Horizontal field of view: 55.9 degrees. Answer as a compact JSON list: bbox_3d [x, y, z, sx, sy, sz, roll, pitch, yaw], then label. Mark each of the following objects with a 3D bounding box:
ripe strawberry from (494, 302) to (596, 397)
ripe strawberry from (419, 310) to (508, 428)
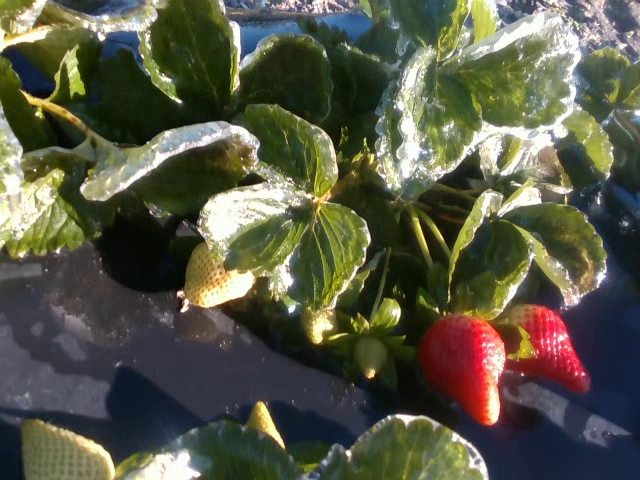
[{"bbox_3d":[0.134,0.060,0.343,0.044,0.059,0.040,-42,1,-38],"label":"ripe strawberry"},{"bbox_3d":[0.086,0.071,0.319,0.053,0.069,0.040,18,-36,-35],"label":"ripe strawberry"}]
